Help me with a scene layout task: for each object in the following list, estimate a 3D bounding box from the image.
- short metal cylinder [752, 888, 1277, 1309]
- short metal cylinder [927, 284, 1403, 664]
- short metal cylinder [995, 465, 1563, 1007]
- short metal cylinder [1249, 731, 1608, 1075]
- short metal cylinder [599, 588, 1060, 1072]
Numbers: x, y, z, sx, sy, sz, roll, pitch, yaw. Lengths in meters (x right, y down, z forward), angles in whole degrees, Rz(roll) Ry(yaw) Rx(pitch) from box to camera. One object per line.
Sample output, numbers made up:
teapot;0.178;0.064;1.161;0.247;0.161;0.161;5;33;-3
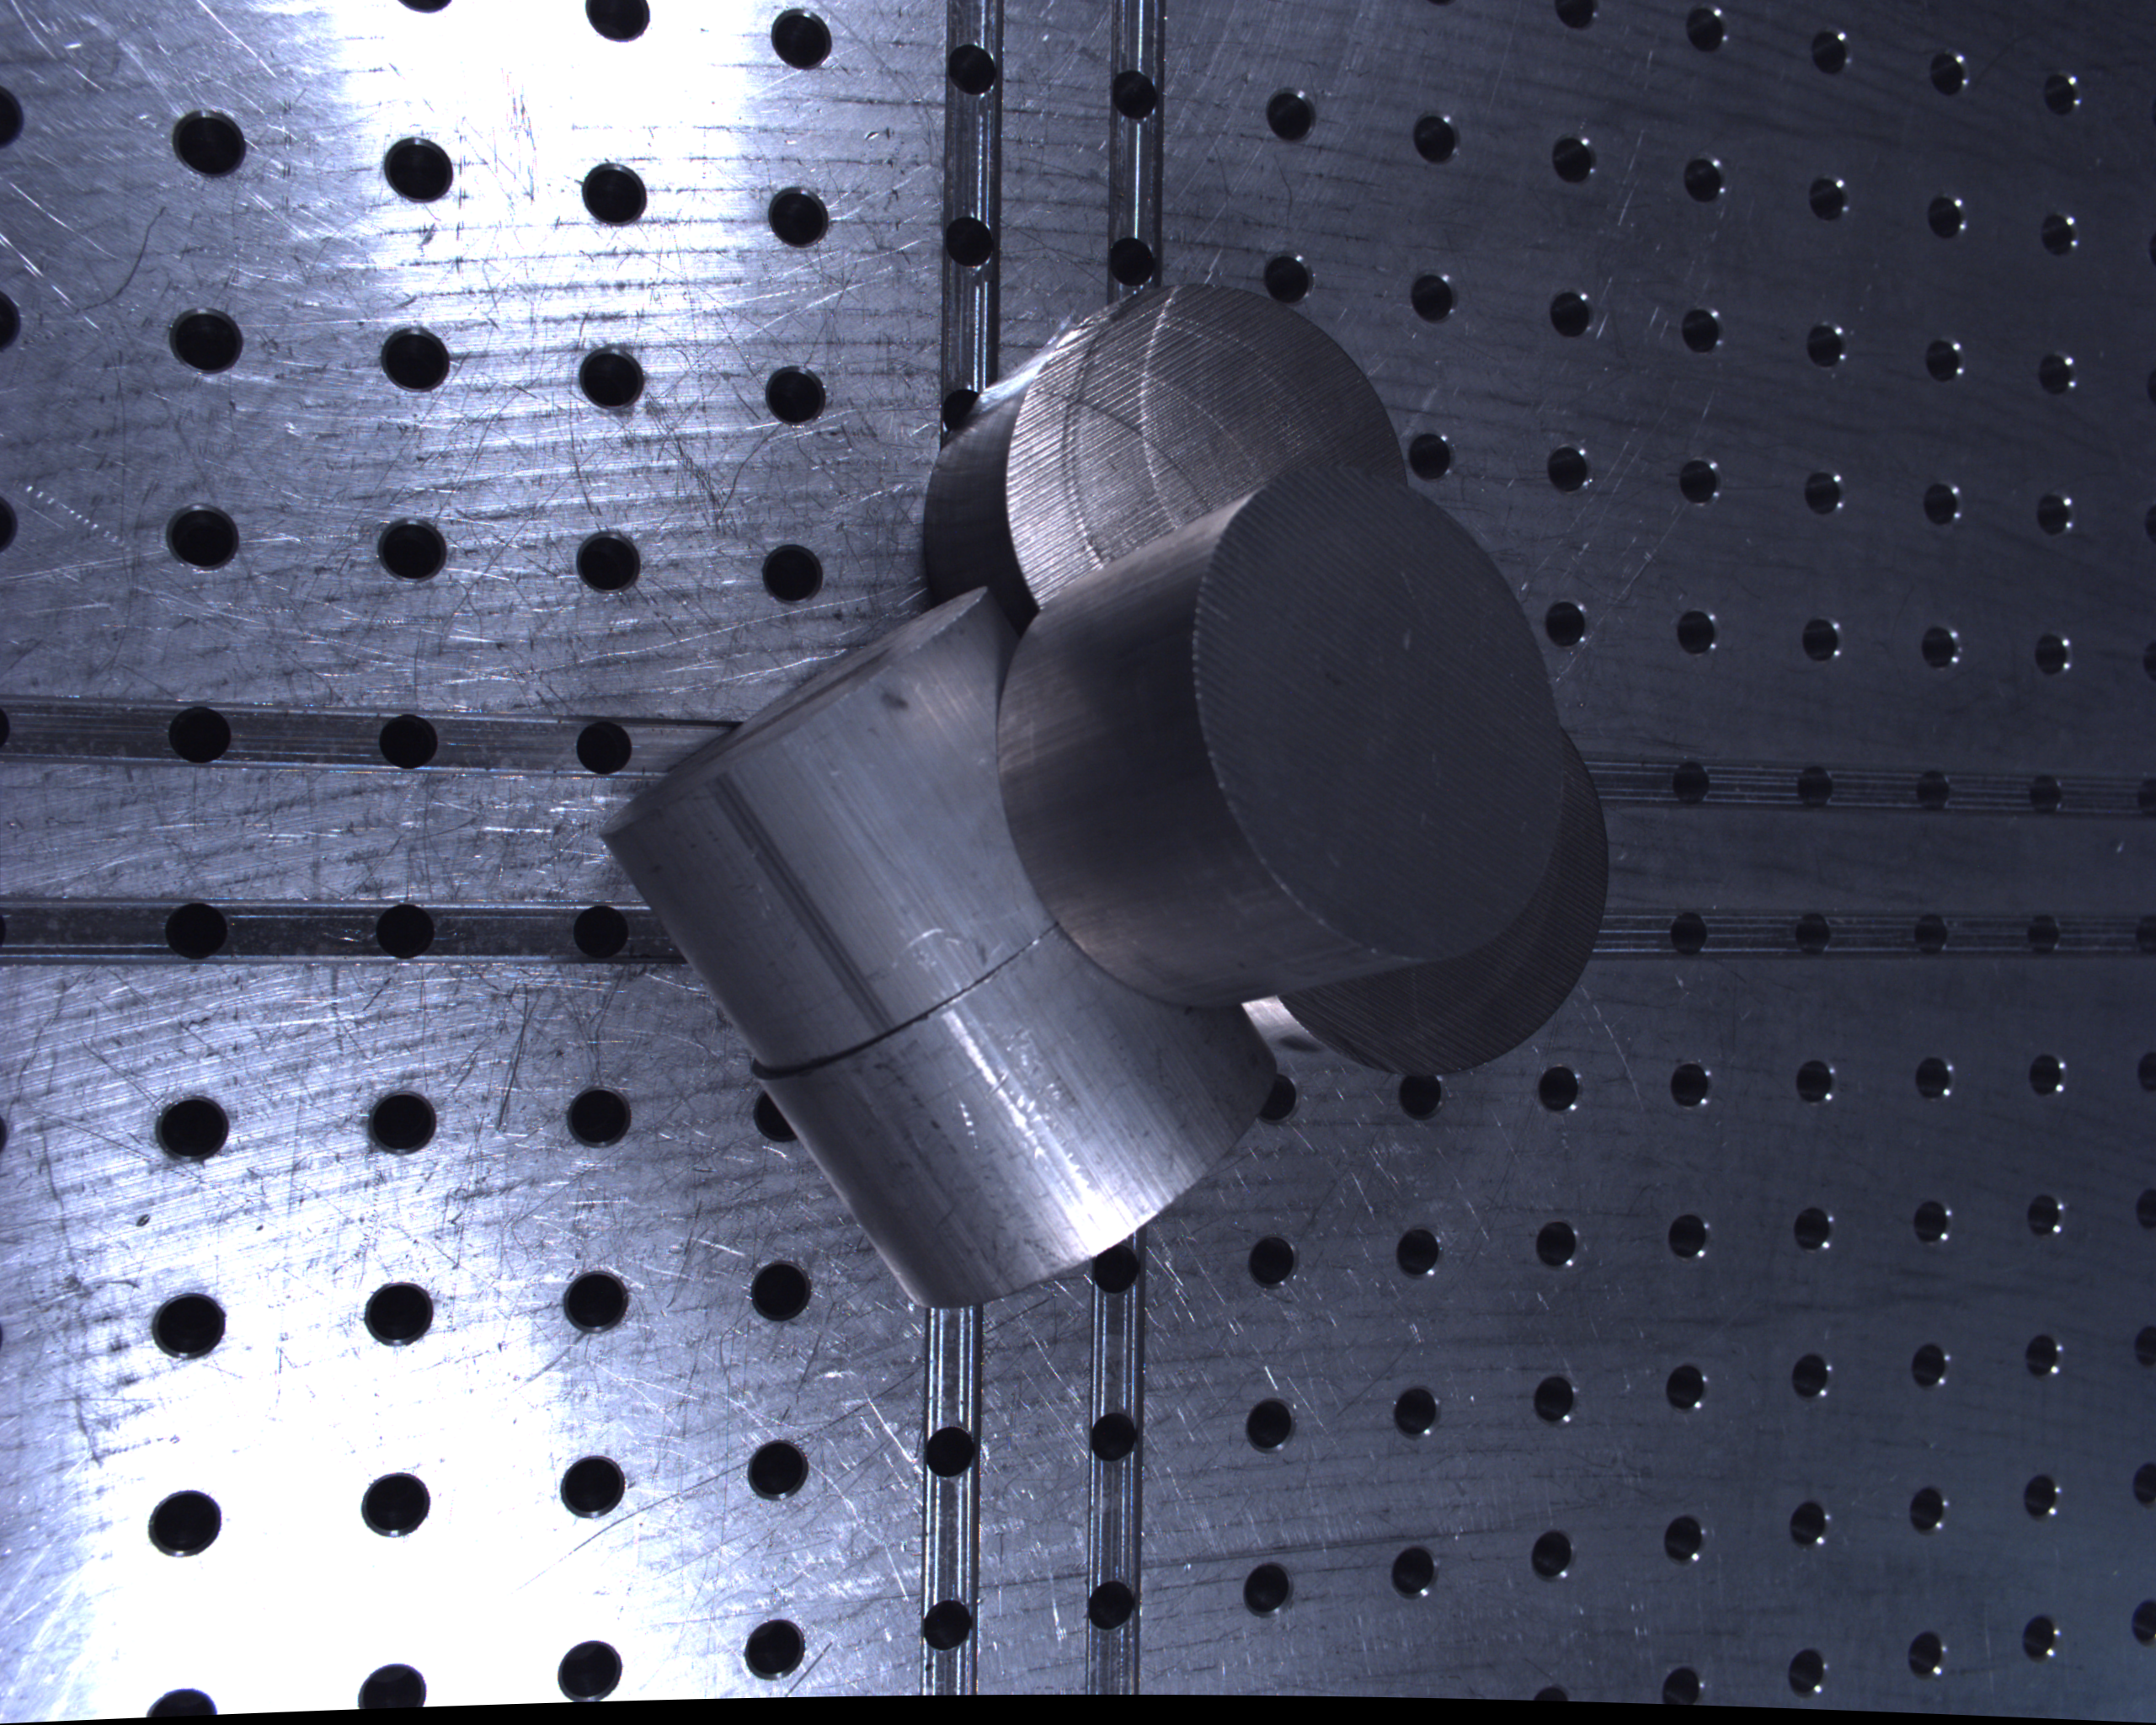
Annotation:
short metal cylinder;-0.011;0.036;0.380;0.080;0.080;0.050;-35;102;-17
short metal cylinder;0.016;-0.066;0.405;0.081;0.050;0.079;0;90;-21
short metal cylinder;0.034;-0.019;0.344;0.081;0.050;0.080;11;72;-36
short metal cylinder;0.058;0.001;0.421;0.081;0.050;0.079;0;90;-21
short metal cylinder;-0.037;-0.007;0.371;0.080;0.080;0.050;-36;102;-17
